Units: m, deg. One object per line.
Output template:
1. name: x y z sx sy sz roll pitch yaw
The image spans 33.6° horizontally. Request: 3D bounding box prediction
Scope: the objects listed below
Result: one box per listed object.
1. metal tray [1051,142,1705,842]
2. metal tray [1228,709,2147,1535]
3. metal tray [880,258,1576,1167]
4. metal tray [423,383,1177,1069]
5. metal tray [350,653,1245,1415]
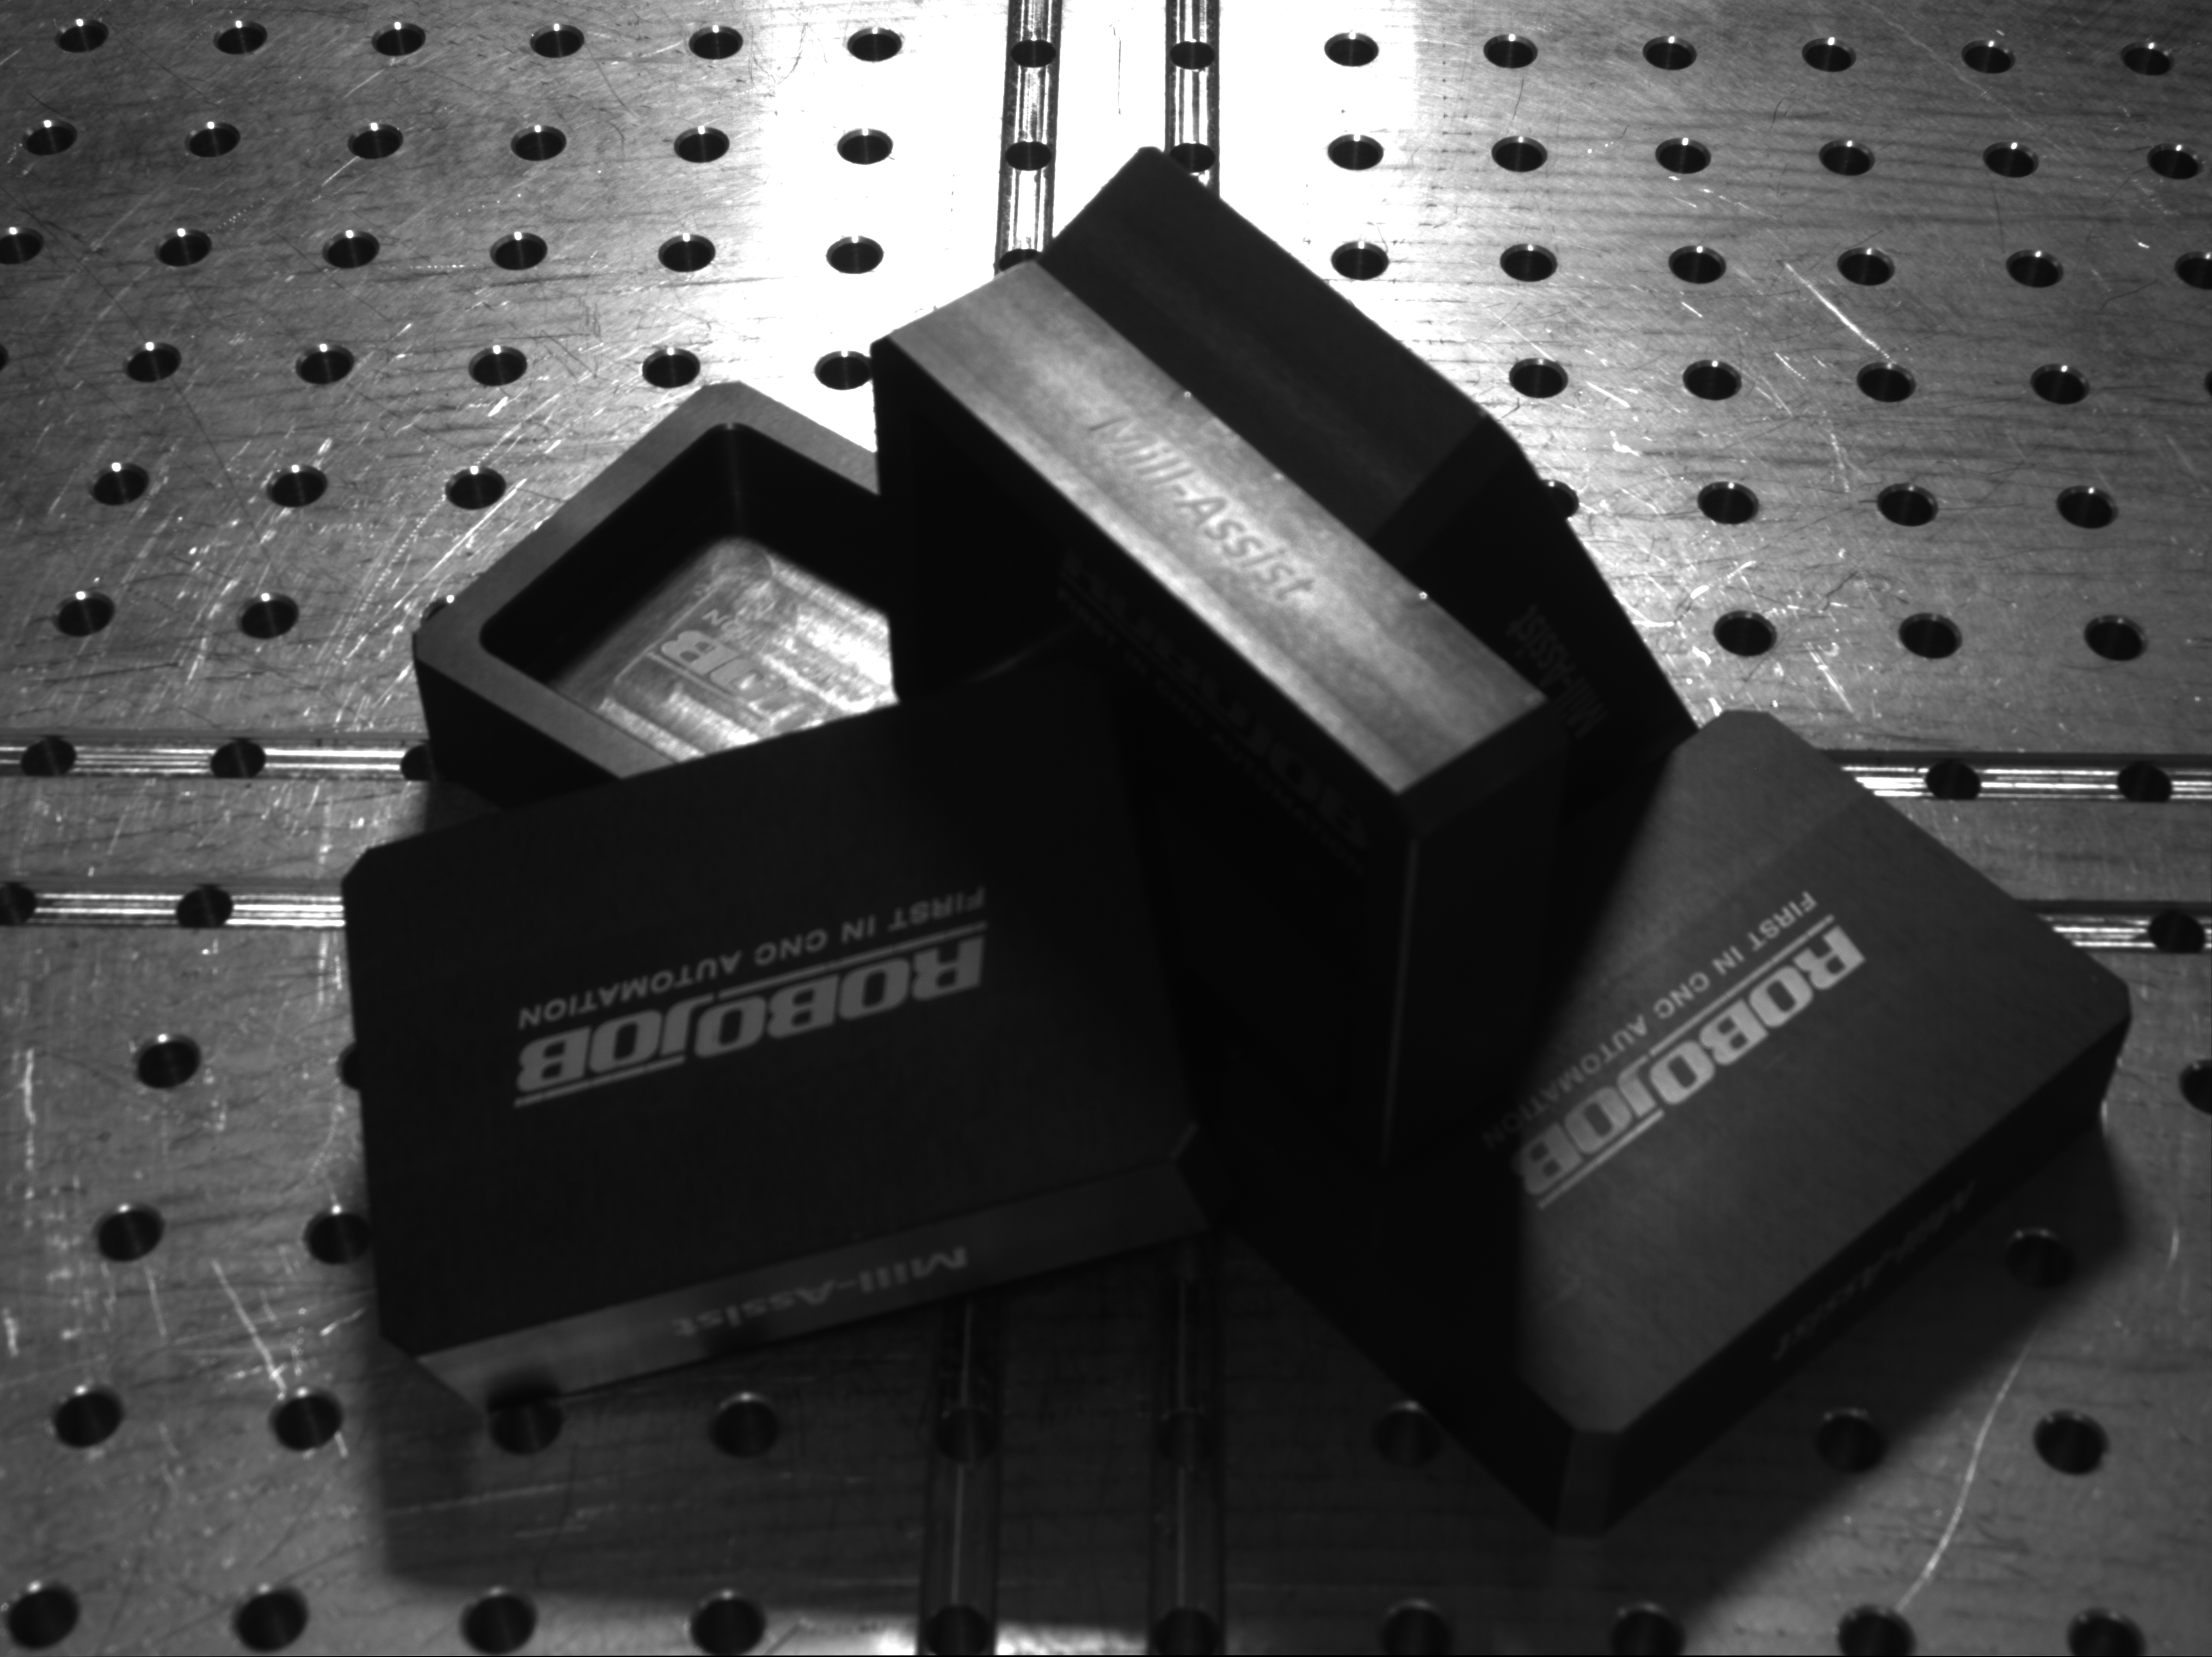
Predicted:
1. metal tray: 0.048 -0.053 0.622 0.030 0.130 0.090 -46 60 1
2. metal tray: 0.095 0.044 0.603 0.130 0.030 0.090 -34 58 -25
3. metal tray: 0.016 -0.019 0.578 0.030 0.090 0.130 -31 56 -23
4. metal tray: -0.046 -0.021 0.659 0.130 0.030 0.090 29 56 22
5. metal tray: -0.051 0.032 0.583 0.130 0.030 0.090 -15 61 6
